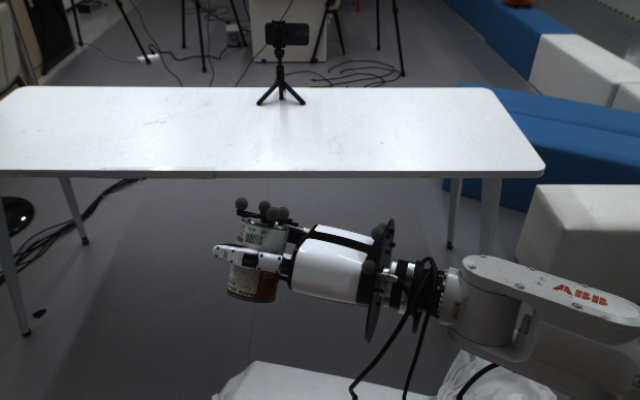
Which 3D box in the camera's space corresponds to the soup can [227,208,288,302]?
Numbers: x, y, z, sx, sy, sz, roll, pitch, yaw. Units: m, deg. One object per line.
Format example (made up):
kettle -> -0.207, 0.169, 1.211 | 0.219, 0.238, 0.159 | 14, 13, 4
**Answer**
soup can -> -0.081, 0.079, 0.644 | 0.067, 0.101, 0.067 | 12, 2, 0
